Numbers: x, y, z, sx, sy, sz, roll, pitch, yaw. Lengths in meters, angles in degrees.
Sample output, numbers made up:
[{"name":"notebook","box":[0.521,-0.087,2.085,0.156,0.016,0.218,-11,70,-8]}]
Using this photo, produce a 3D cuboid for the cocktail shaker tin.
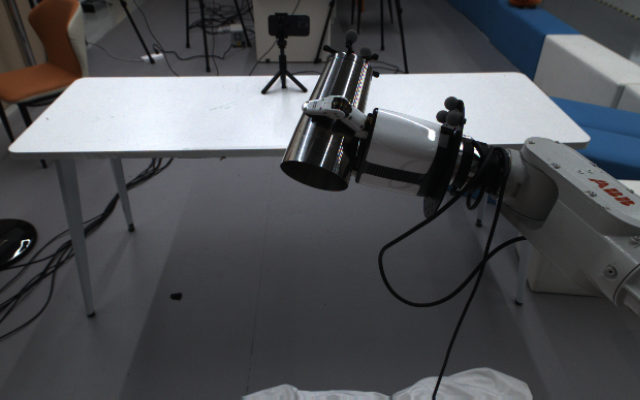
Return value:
[{"name":"cocktail shaker tin","box":[0.017,-0.108,0.647,0.093,0.093,0.170,13,74,16]}]
